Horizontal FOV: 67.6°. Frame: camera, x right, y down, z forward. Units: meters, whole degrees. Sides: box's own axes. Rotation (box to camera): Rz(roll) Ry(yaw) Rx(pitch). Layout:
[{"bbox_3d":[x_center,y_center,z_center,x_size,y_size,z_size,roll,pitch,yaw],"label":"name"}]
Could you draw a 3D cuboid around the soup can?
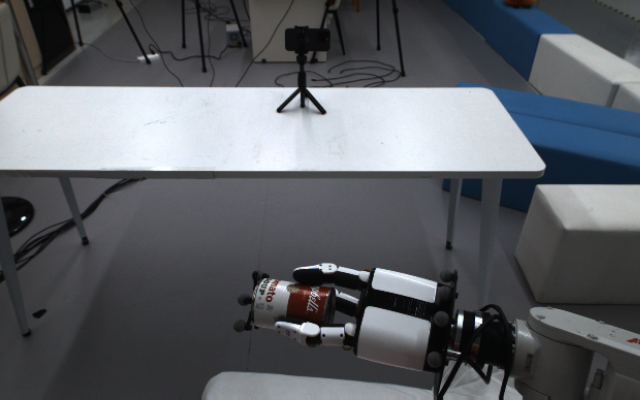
[{"bbox_3d":[-0.032,0.146,0.657,0.101,0.067,0.067,5,34,13],"label":"soup can"}]
